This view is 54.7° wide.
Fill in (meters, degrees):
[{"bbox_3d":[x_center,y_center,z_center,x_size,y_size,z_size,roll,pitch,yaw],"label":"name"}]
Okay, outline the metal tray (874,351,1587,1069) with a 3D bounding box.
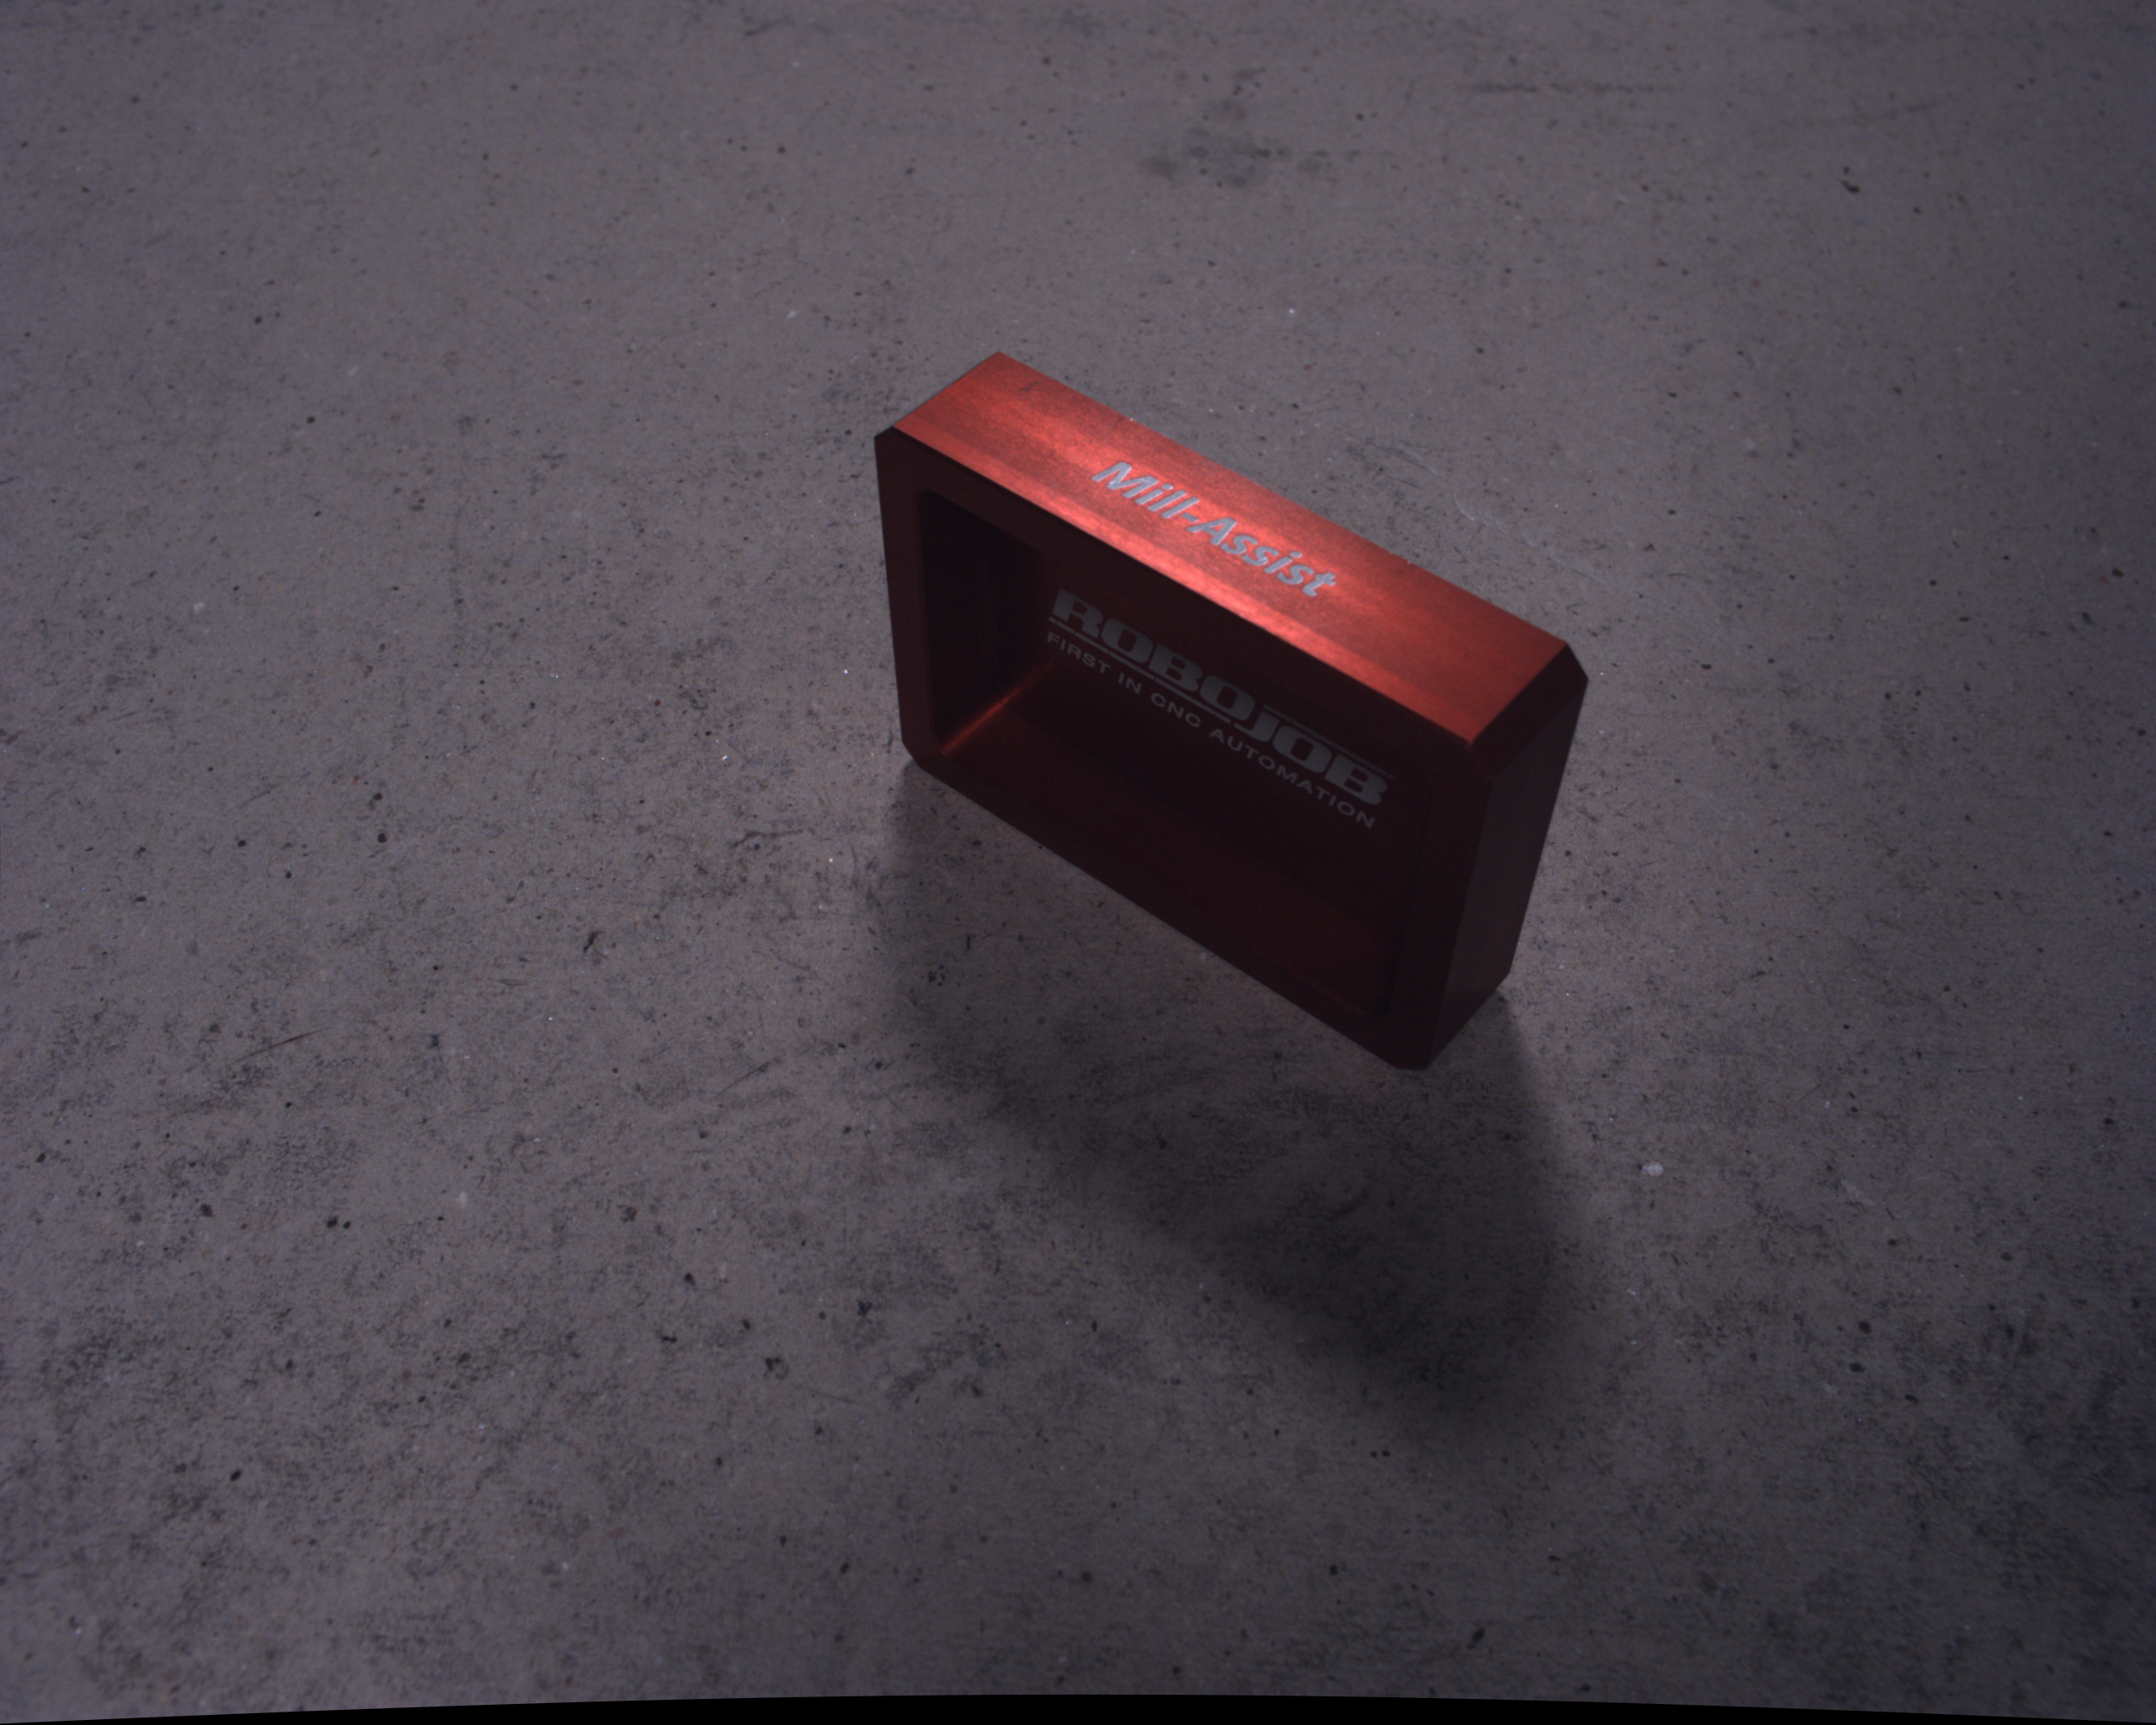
[{"bbox_3d":[0.023,-0.028,0.386,0.130,0.089,0.030,32,57,24],"label":"metal tray"}]
